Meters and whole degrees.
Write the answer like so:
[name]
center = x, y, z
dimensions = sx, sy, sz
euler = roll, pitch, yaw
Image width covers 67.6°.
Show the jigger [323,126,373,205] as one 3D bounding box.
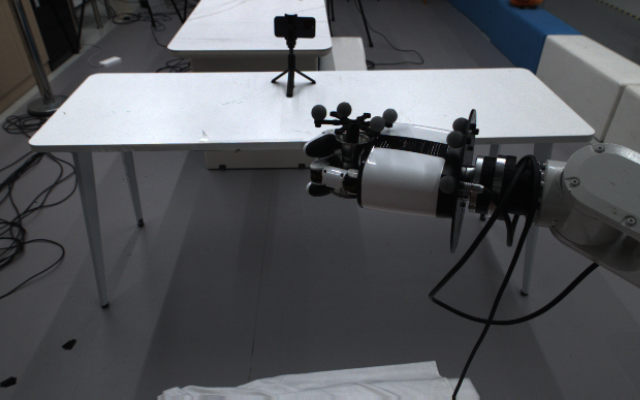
[jigger]
center = 0.036, -0.044, 0.578
dimensions = 0.043, 0.071, 0.043
euler = 3, 25, -1
